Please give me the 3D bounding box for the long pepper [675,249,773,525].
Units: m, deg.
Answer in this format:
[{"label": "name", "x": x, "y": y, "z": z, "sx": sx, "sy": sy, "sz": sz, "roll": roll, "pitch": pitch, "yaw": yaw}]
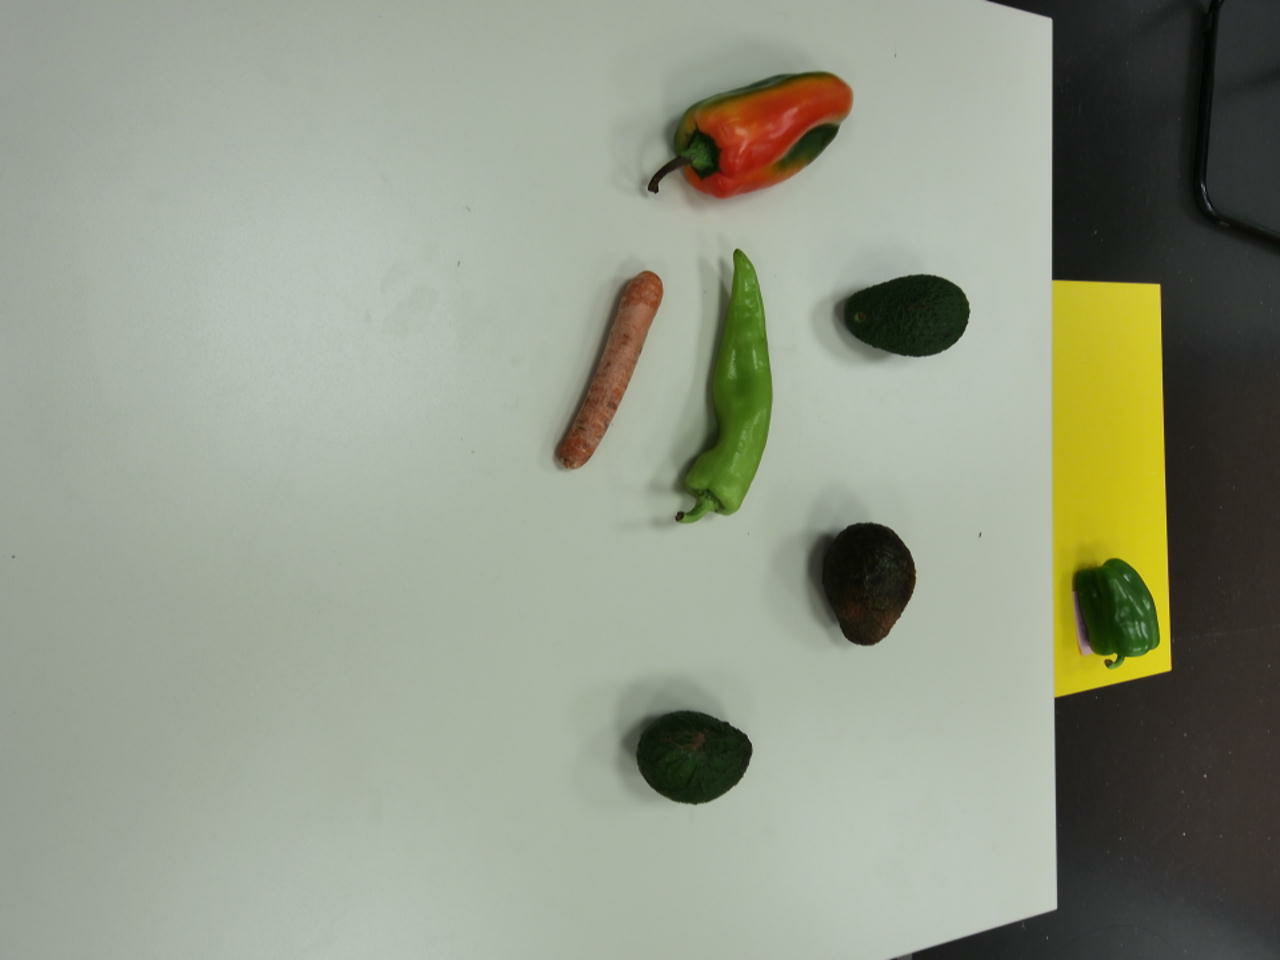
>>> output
[{"label": "long pepper", "x": 0.070, "y": -0.061, "z": 0.729, "sx": 0.065, "sy": 0.045, "sz": 0.204, "roll": 18, "pitch": 82, "yaw": -27}]
